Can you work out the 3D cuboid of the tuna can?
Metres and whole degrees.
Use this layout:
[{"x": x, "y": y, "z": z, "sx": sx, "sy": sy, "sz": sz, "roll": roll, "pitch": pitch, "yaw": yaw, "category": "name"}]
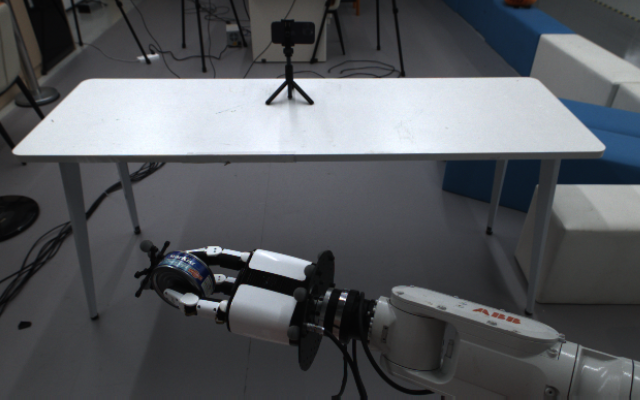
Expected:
[{"x": -0.190, "y": 0.112, "z": 0.682, "sx": 0.085, "sy": 0.085, "sz": 0.034, "roll": 10, "pitch": 36, "yaw": 11, "category": "tuna can"}]
